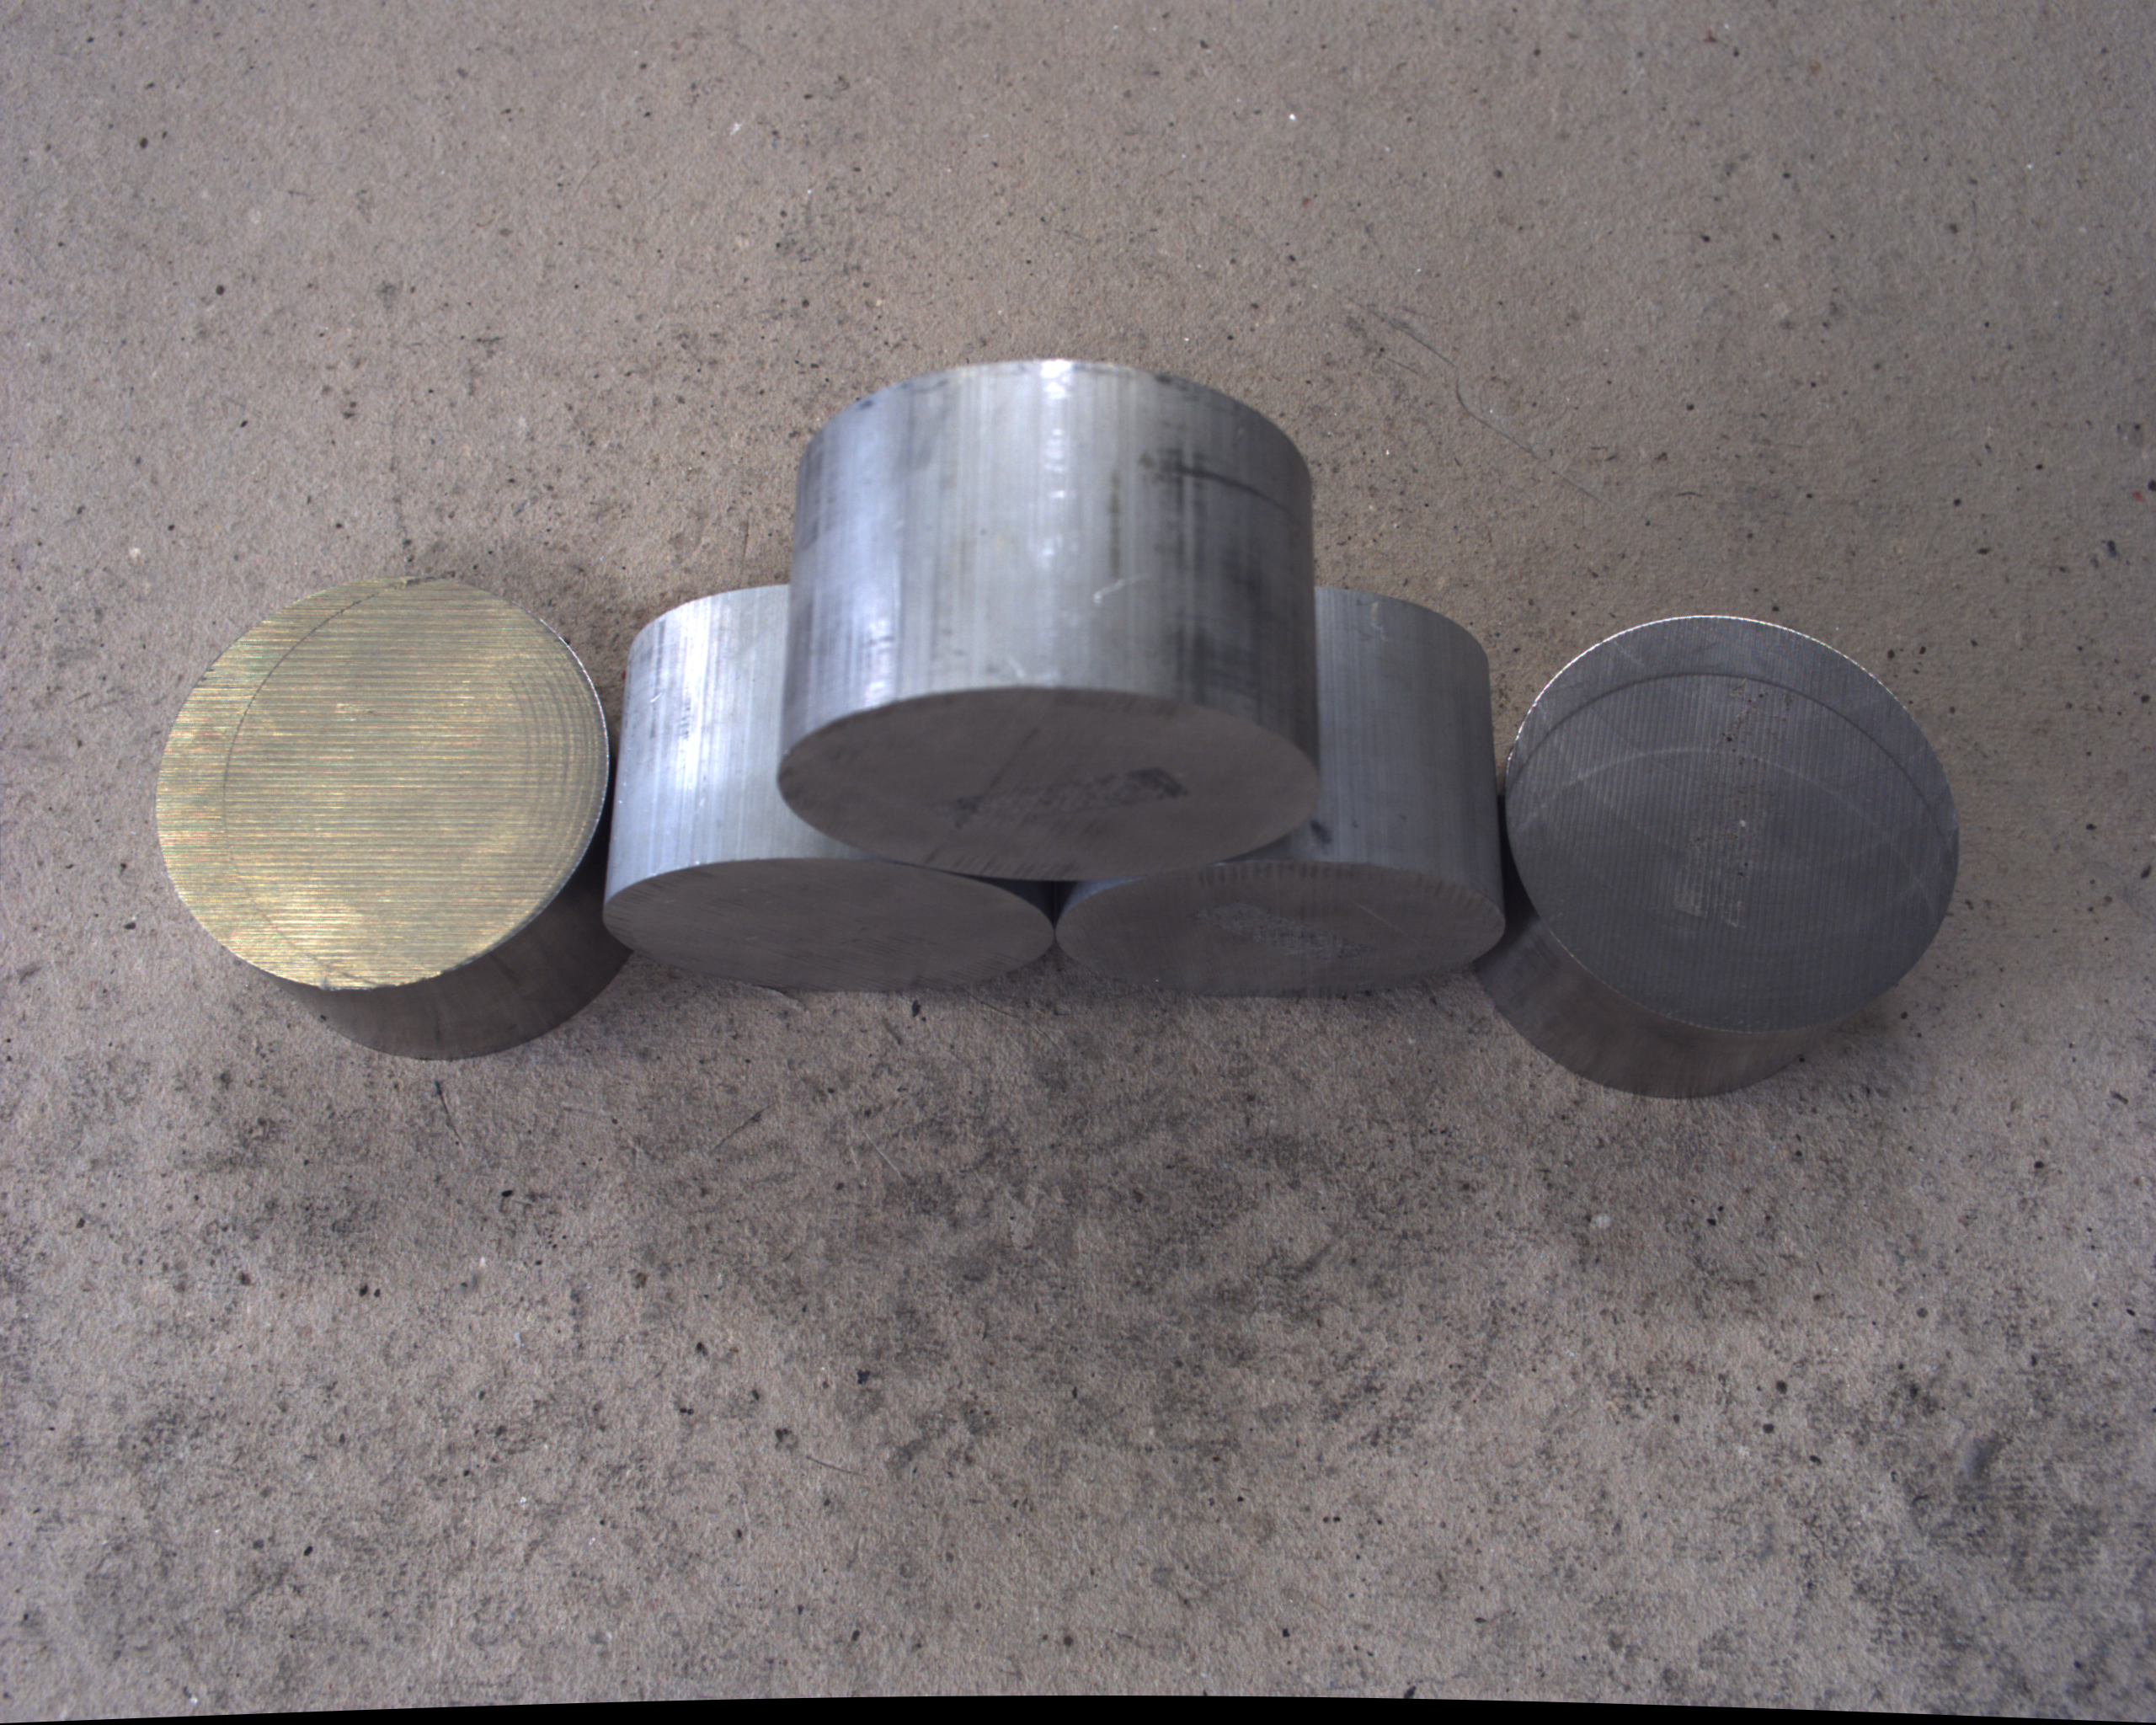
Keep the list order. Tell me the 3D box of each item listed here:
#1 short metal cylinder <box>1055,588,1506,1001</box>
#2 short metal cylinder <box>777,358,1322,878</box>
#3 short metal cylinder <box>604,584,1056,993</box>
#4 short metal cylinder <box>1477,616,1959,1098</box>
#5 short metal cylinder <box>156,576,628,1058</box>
[{"bbox_3d":[0.036,-0.010,0.384,0.081,0.080,0.050,0,69,0],"label":"short metal cylinder"},{"bbox_3d":[-0.004,-0.034,0.319,0.080,0.080,0.050,1,71,0],"label":"short metal cylinder"},{"bbox_3d":[-0.044,-0.011,0.384,0.081,0.080,0.050,0,70,0],"label":"short metal cylinder"},{"bbox_3d":[0.117,0.000,0.396,0.081,0.050,0.080,0,70,-1],"label":"short metal cylinder"},{"bbox_3d":[-0.125,-0.007,0.398,0.081,0.050,0.080,0,70,-1],"label":"short metal cylinder"}]
